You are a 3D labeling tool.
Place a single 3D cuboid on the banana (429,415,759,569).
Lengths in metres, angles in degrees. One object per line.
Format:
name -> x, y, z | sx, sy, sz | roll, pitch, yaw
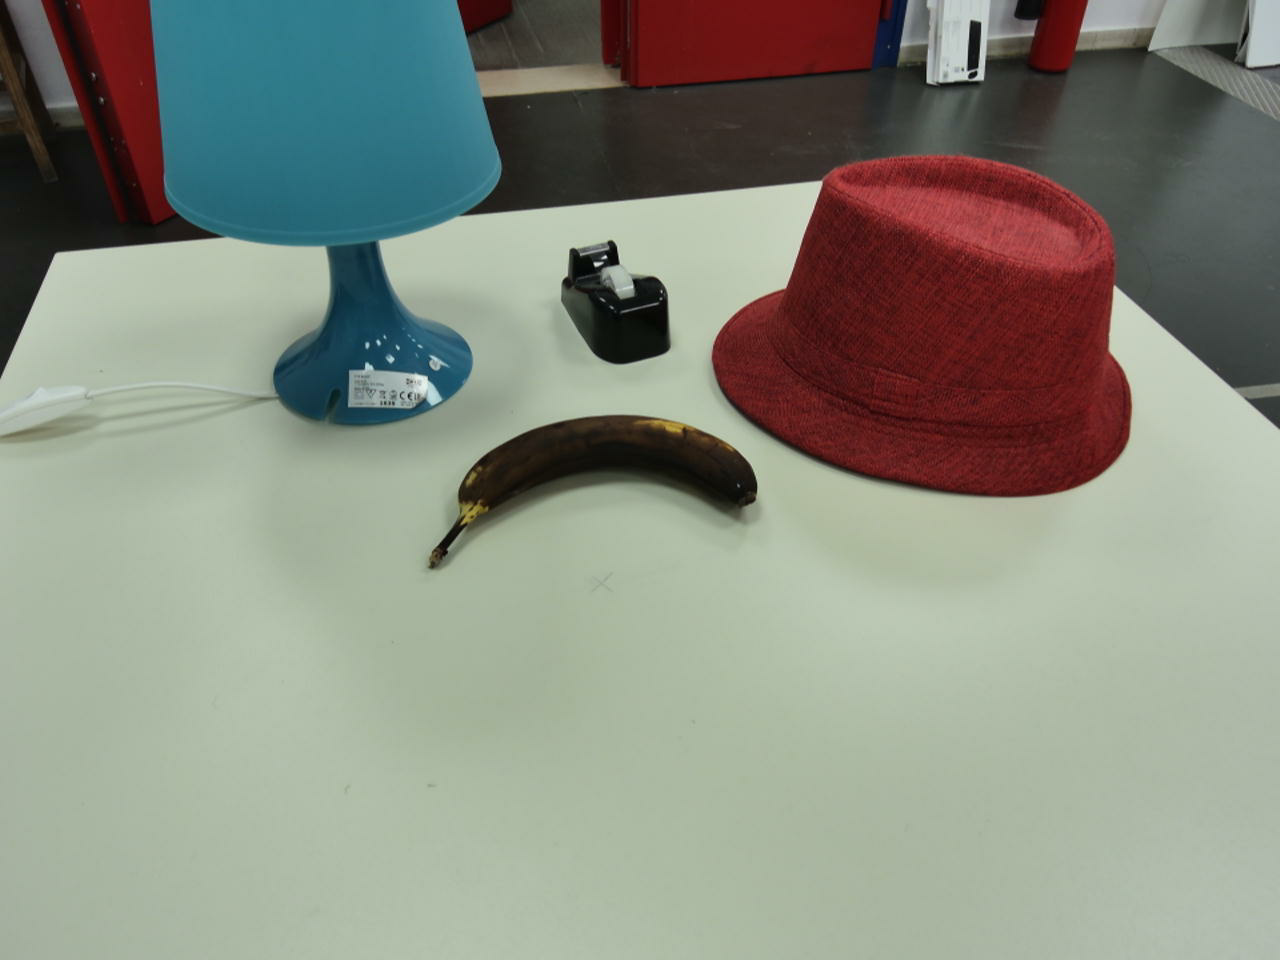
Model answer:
banana -> -0.030, -0.005, 0.580 | 0.188, 0.034, 0.091 | -7, 40, -9
